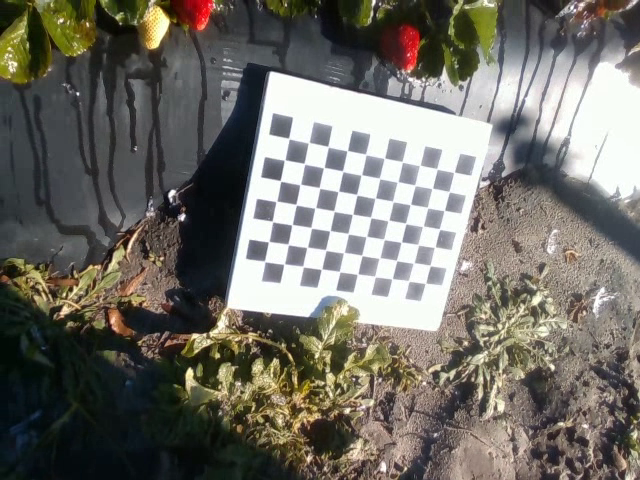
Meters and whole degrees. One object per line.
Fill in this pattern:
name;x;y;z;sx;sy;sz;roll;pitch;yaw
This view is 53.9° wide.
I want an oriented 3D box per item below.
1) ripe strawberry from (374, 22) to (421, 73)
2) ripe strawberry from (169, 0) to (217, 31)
ripe strawberry;0.095;-0.210;0.693;0.049;0.061;0.044;0;-18;-19
ripe strawberry;-0.122;-0.224;0.622;0.043;0.061;0.046;-8;-25;-17
